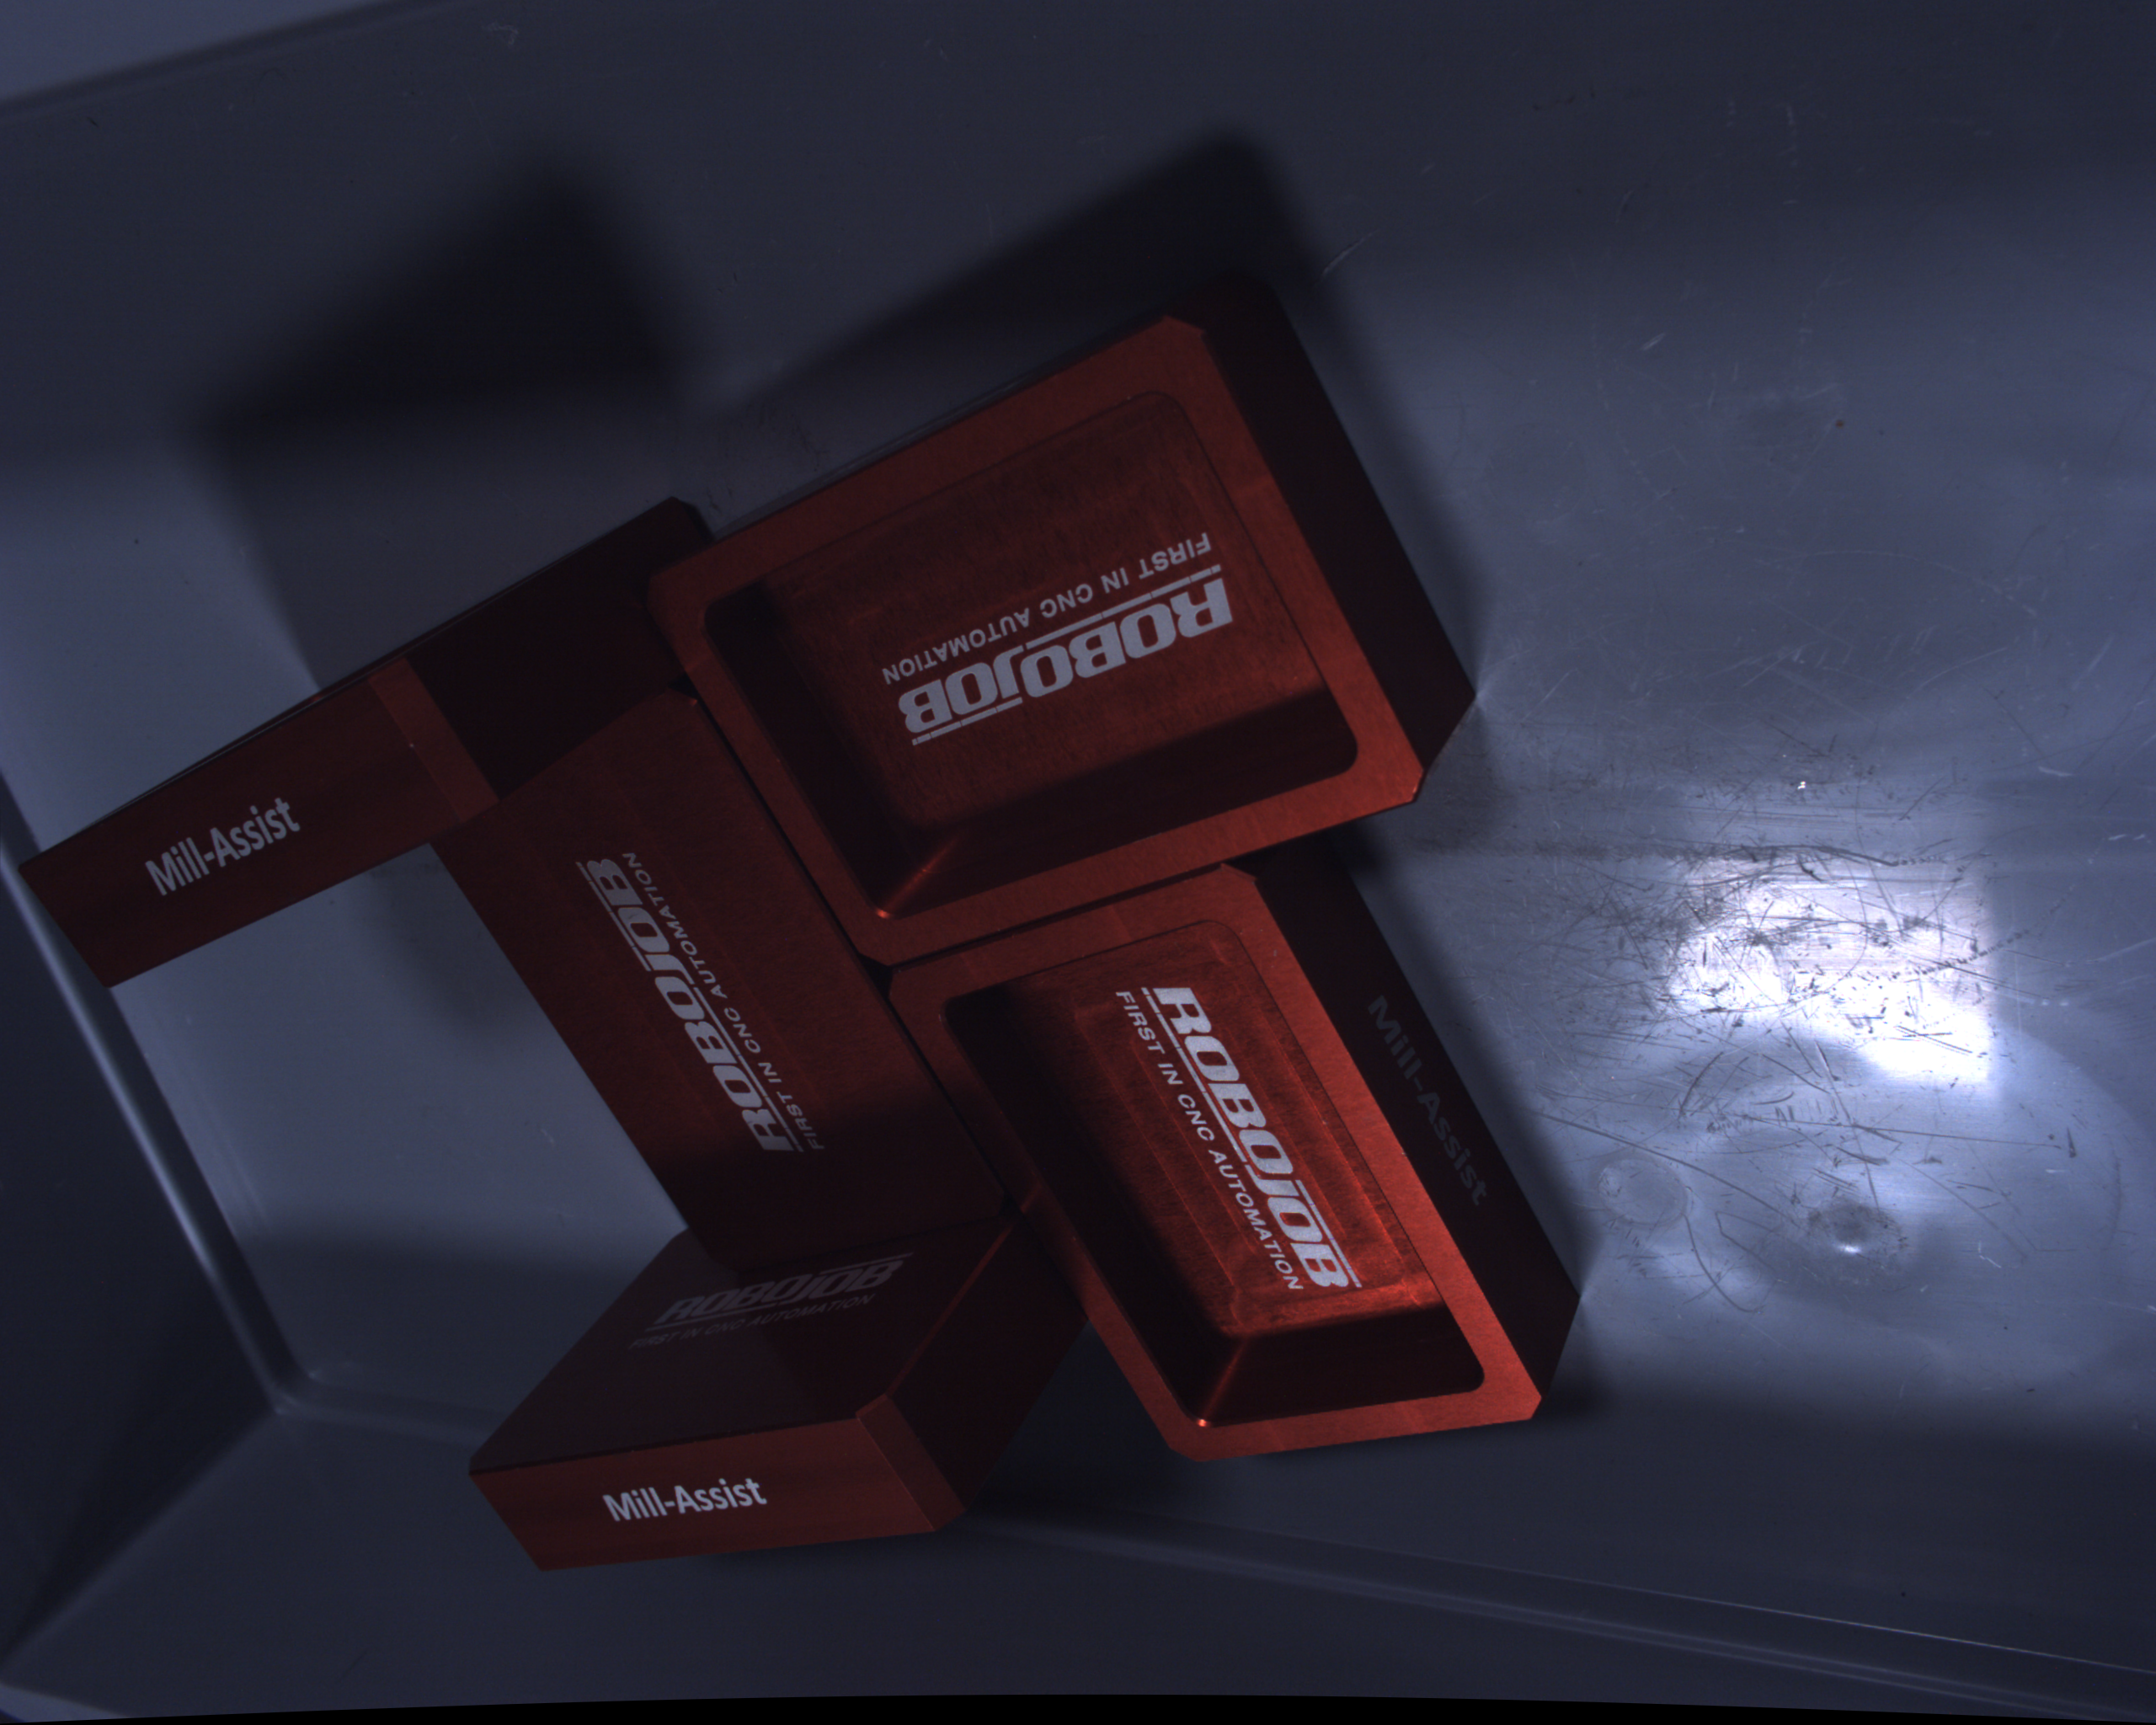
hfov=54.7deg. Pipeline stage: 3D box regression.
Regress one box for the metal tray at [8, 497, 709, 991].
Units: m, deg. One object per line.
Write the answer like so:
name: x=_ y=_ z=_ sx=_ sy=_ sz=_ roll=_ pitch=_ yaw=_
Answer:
metal tray: x=-0.141 y=-0.023 z=0.420 sx=0.130 sy=0.090 sz=0.030 roll=-19 pitch=108 yaw=35

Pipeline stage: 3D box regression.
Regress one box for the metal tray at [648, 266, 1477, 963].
metal tray: x=-0.006 y=-0.039 z=0.381 sx=0.130 sy=0.030 sz=0.090 roll=-18 pitch=109 yaw=34

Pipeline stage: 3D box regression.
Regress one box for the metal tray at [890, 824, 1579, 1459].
metal tray: x=0.032 y=0.058 z=0.421 sx=0.090 sy=0.030 sz=0.130 roll=-19 pitch=109 yaw=35

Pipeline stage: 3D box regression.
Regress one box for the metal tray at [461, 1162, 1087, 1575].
metal tray: x=-0.063 y=0.111 z=0.463 sx=0.130 sy=0.090 sz=0.030 roll=-18 pitch=109 yaw=35

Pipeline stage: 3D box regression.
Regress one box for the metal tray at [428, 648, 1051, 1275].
metal tray: x=-0.074 y=0.024 z=0.454 sx=0.090 sy=0.030 sz=0.130 roll=-19 pitch=109 yaw=35
